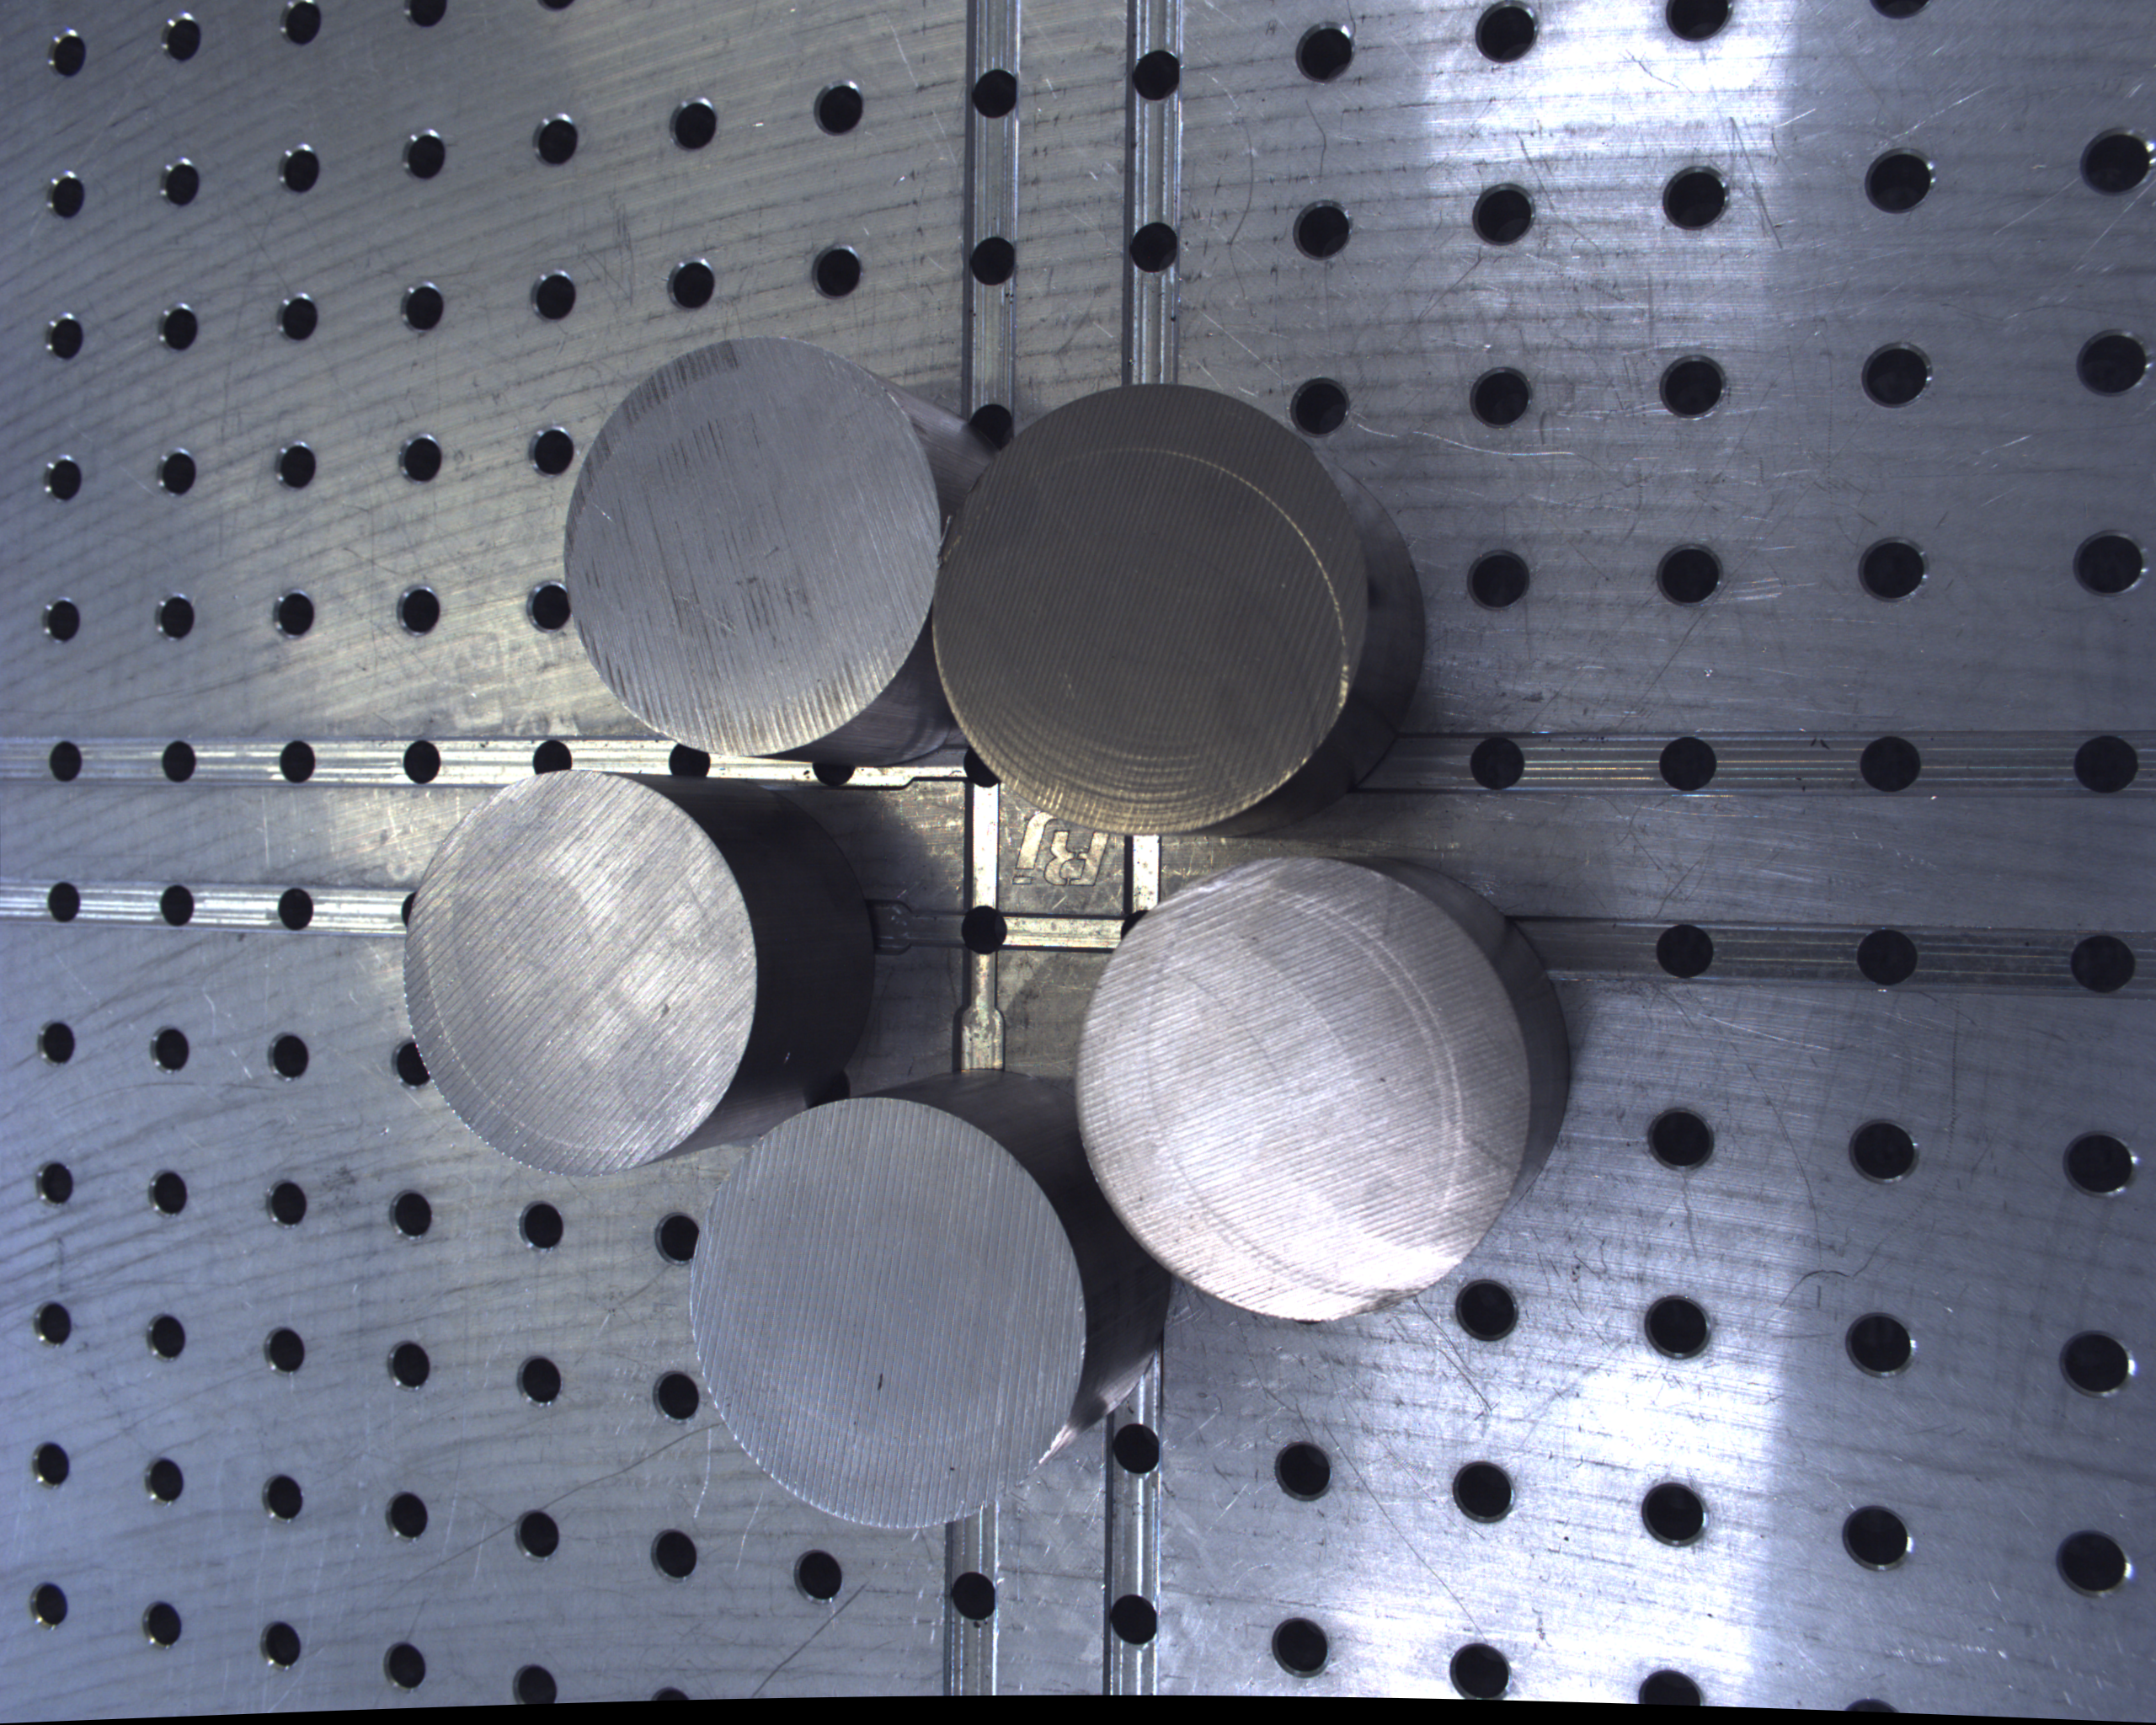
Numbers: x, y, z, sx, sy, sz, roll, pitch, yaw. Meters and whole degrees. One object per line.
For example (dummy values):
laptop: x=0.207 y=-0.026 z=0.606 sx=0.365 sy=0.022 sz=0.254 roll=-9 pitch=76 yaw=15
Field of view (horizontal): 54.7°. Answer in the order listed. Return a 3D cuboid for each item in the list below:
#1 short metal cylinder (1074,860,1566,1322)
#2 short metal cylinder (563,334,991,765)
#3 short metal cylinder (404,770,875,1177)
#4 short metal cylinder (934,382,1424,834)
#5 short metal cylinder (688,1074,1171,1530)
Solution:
short metal cylinder: x=0.046 y=0.039 z=0.382 sx=0.080 sy=0.050 sz=0.079 roll=1 pitch=92 yaw=19
short metal cylinder: x=-0.054 y=-0.060 z=0.418 sx=0.080 sy=0.050 sz=0.079 roll=0 pitch=90 yaw=19
short metal cylinder: x=-0.089 y=0.021 z=0.431 sx=0.080 sy=0.050 sz=0.079 roll=0 pitch=90 yaw=20
short metal cylinder: x=0.020 y=-0.045 z=0.391 sx=0.080 sy=0.050 sz=0.079 roll=0 pitch=90 yaw=20
short metal cylinder: x=-0.028 y=0.083 z=0.408 sx=0.080 sy=0.050 sz=0.080 roll=0 pitch=90 yaw=20
